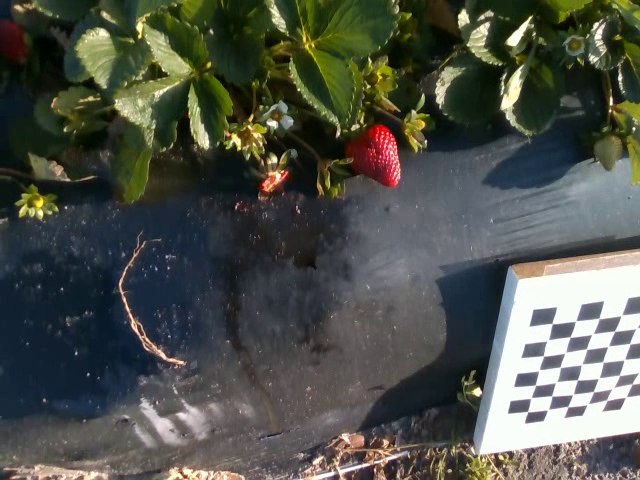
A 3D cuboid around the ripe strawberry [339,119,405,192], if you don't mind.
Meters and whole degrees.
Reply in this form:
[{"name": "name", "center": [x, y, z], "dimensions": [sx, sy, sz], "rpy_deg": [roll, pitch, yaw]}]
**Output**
[{"name": "ripe strawberry", "center": [0.048, -0.063, 0.507], "dimensions": [0.052, 0.052, 0.041], "rpy_deg": [-32, -22, 13]}]
